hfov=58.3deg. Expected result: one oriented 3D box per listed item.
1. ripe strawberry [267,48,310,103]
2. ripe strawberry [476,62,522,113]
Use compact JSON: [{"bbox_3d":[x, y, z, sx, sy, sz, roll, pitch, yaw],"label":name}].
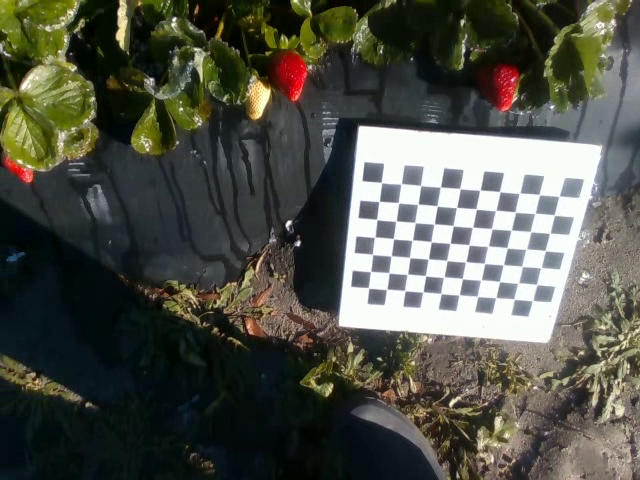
[{"bbox_3d":[-0.031,-0.174,0.626,0.042,0.061,0.046,-9,-19,4],"label":"ripe strawberry"},{"bbox_3d":[0.197,-0.167,0.622,0.048,0.061,0.044,-2,-9,1],"label":"ripe strawberry"}]
